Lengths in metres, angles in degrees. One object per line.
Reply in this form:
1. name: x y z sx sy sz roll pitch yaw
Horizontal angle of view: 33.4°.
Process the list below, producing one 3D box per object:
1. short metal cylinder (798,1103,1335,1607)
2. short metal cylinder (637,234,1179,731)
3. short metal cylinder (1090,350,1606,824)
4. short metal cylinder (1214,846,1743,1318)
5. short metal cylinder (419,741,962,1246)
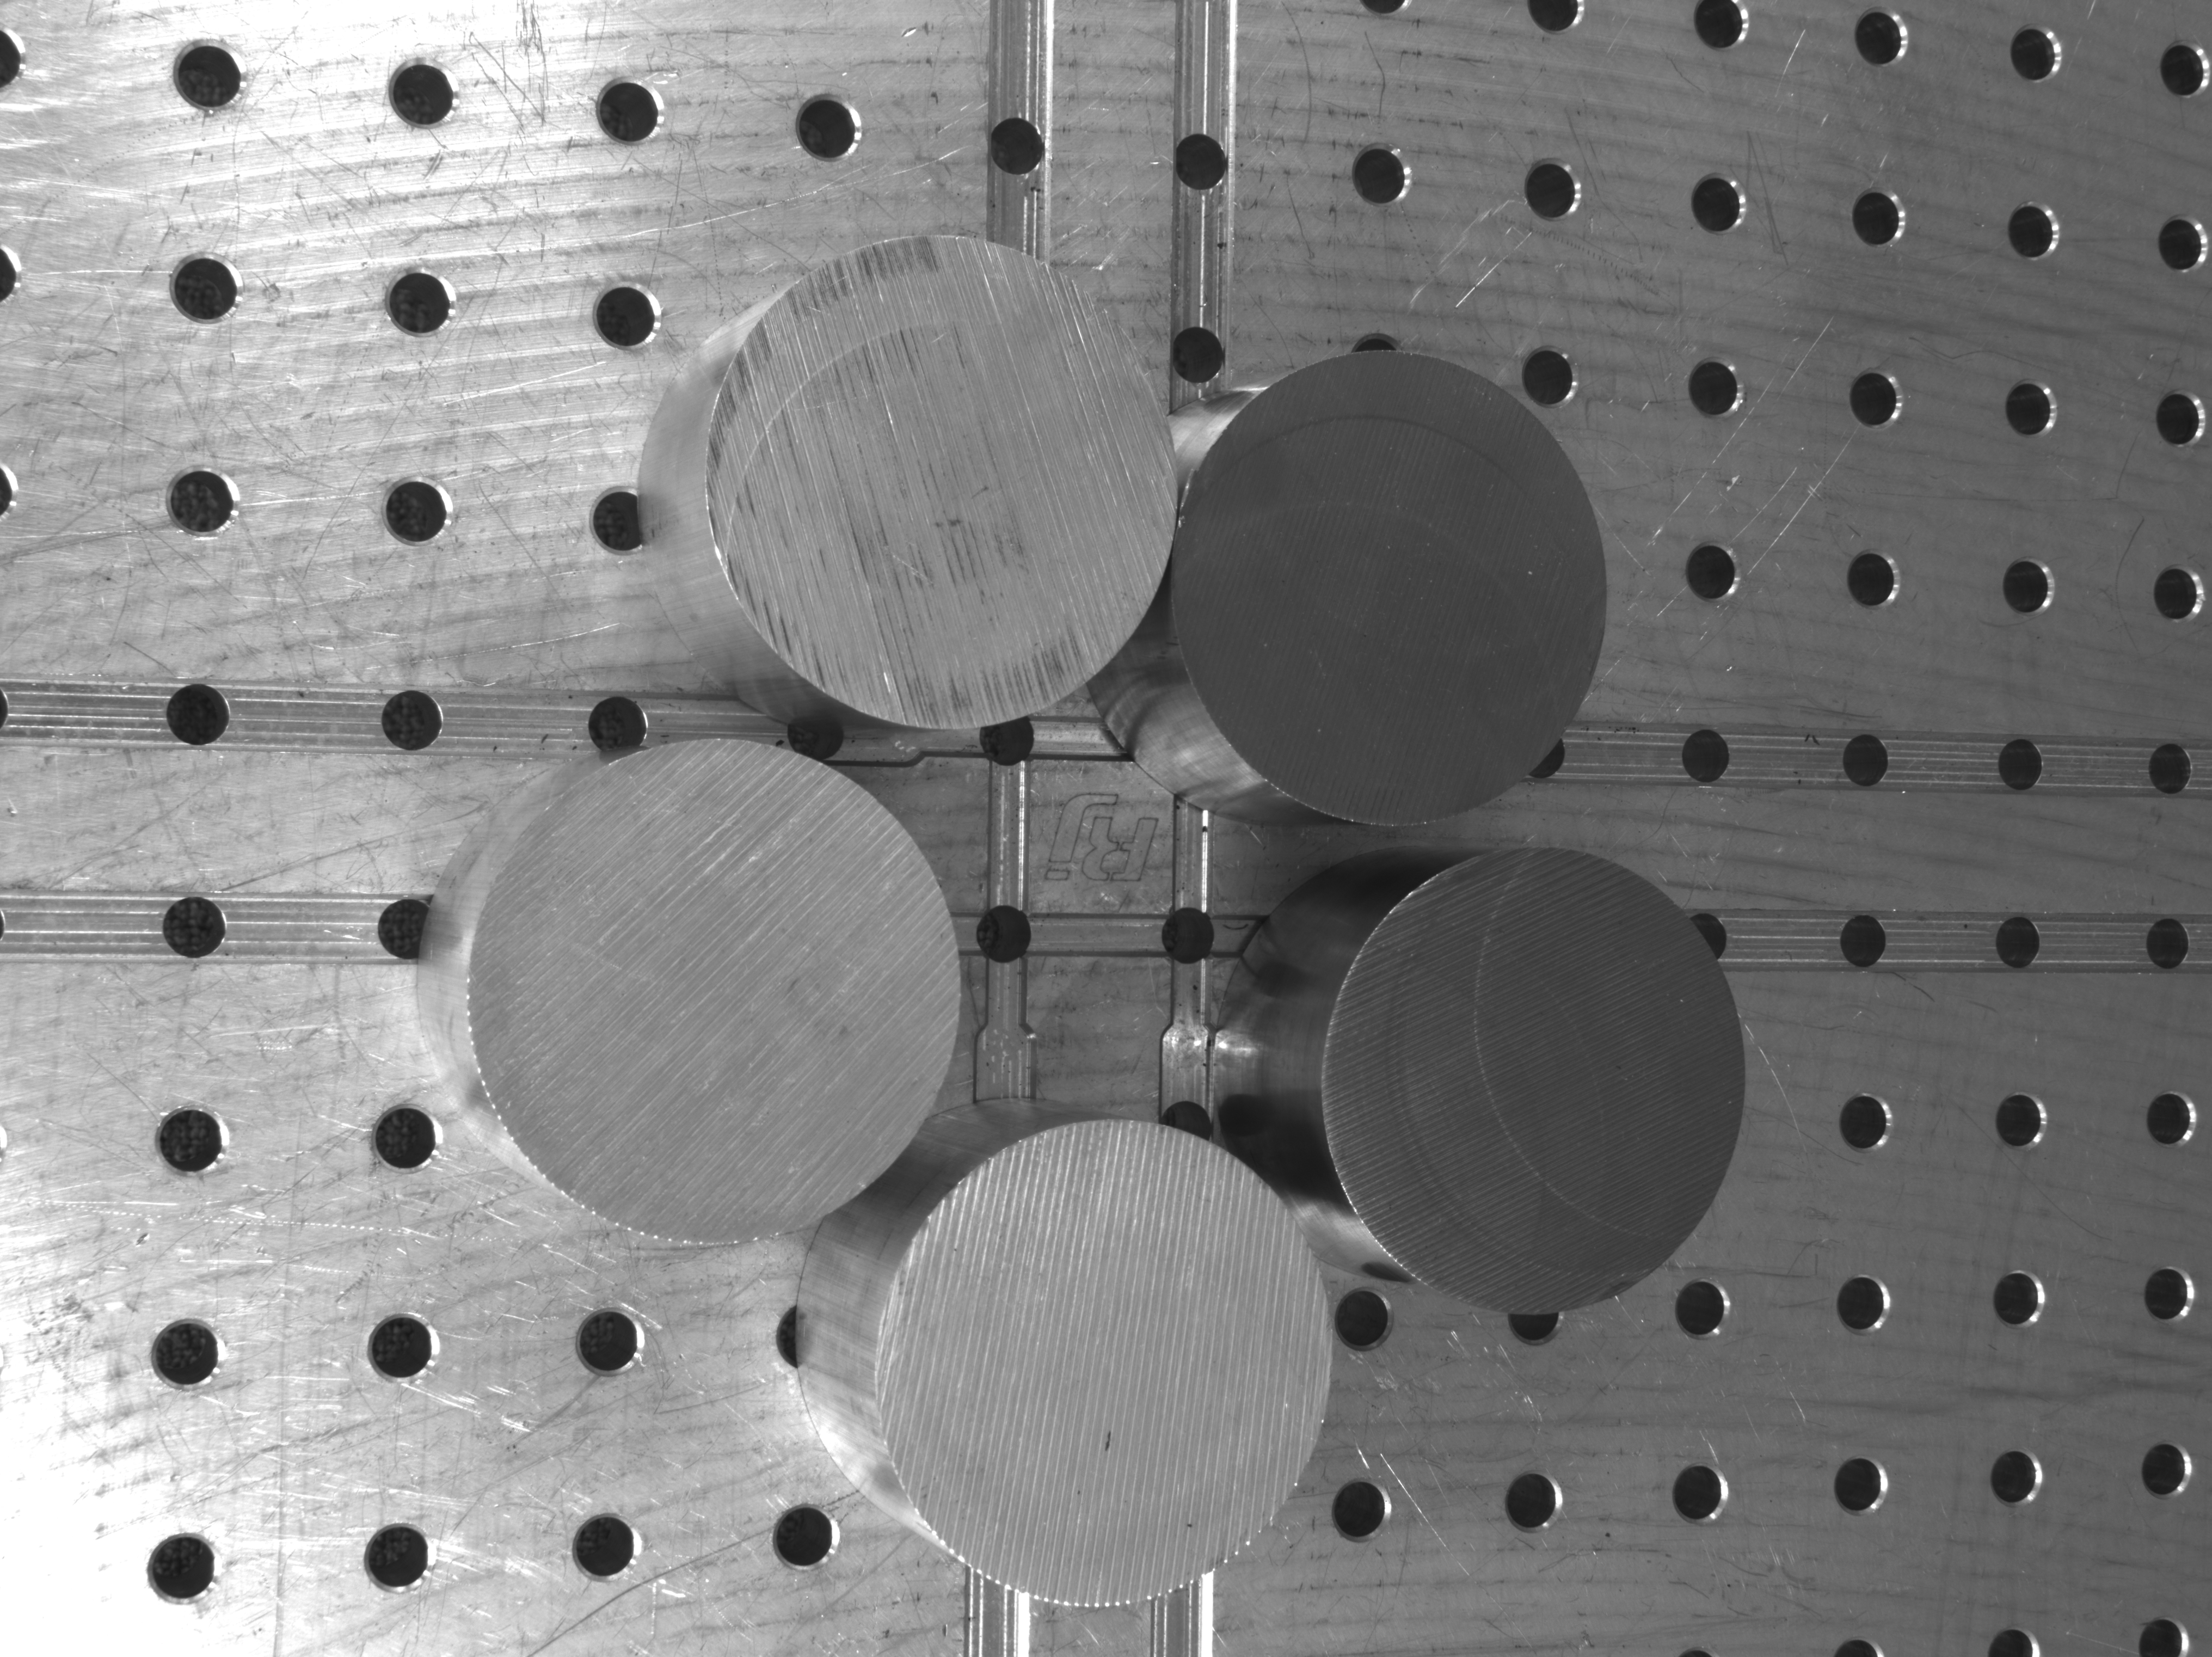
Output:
1. short metal cylinder: -0.008 0.088 0.629 0.080 0.050 0.080 0 89 -19
2. short metal cylinder: -0.034 -0.056 0.620 0.080 0.050 0.080 0 90 -20
3. short metal cylinder: 0.040 -0.041 0.646 0.080 0.050 0.080 0 90 -20
4. short metal cylinder: 0.066 0.044 0.655 0.080 0.050 0.080 0 91 -20
5. short metal cylinder: -0.069 0.026 0.607 0.080 0.050 0.080 0 90 -20
